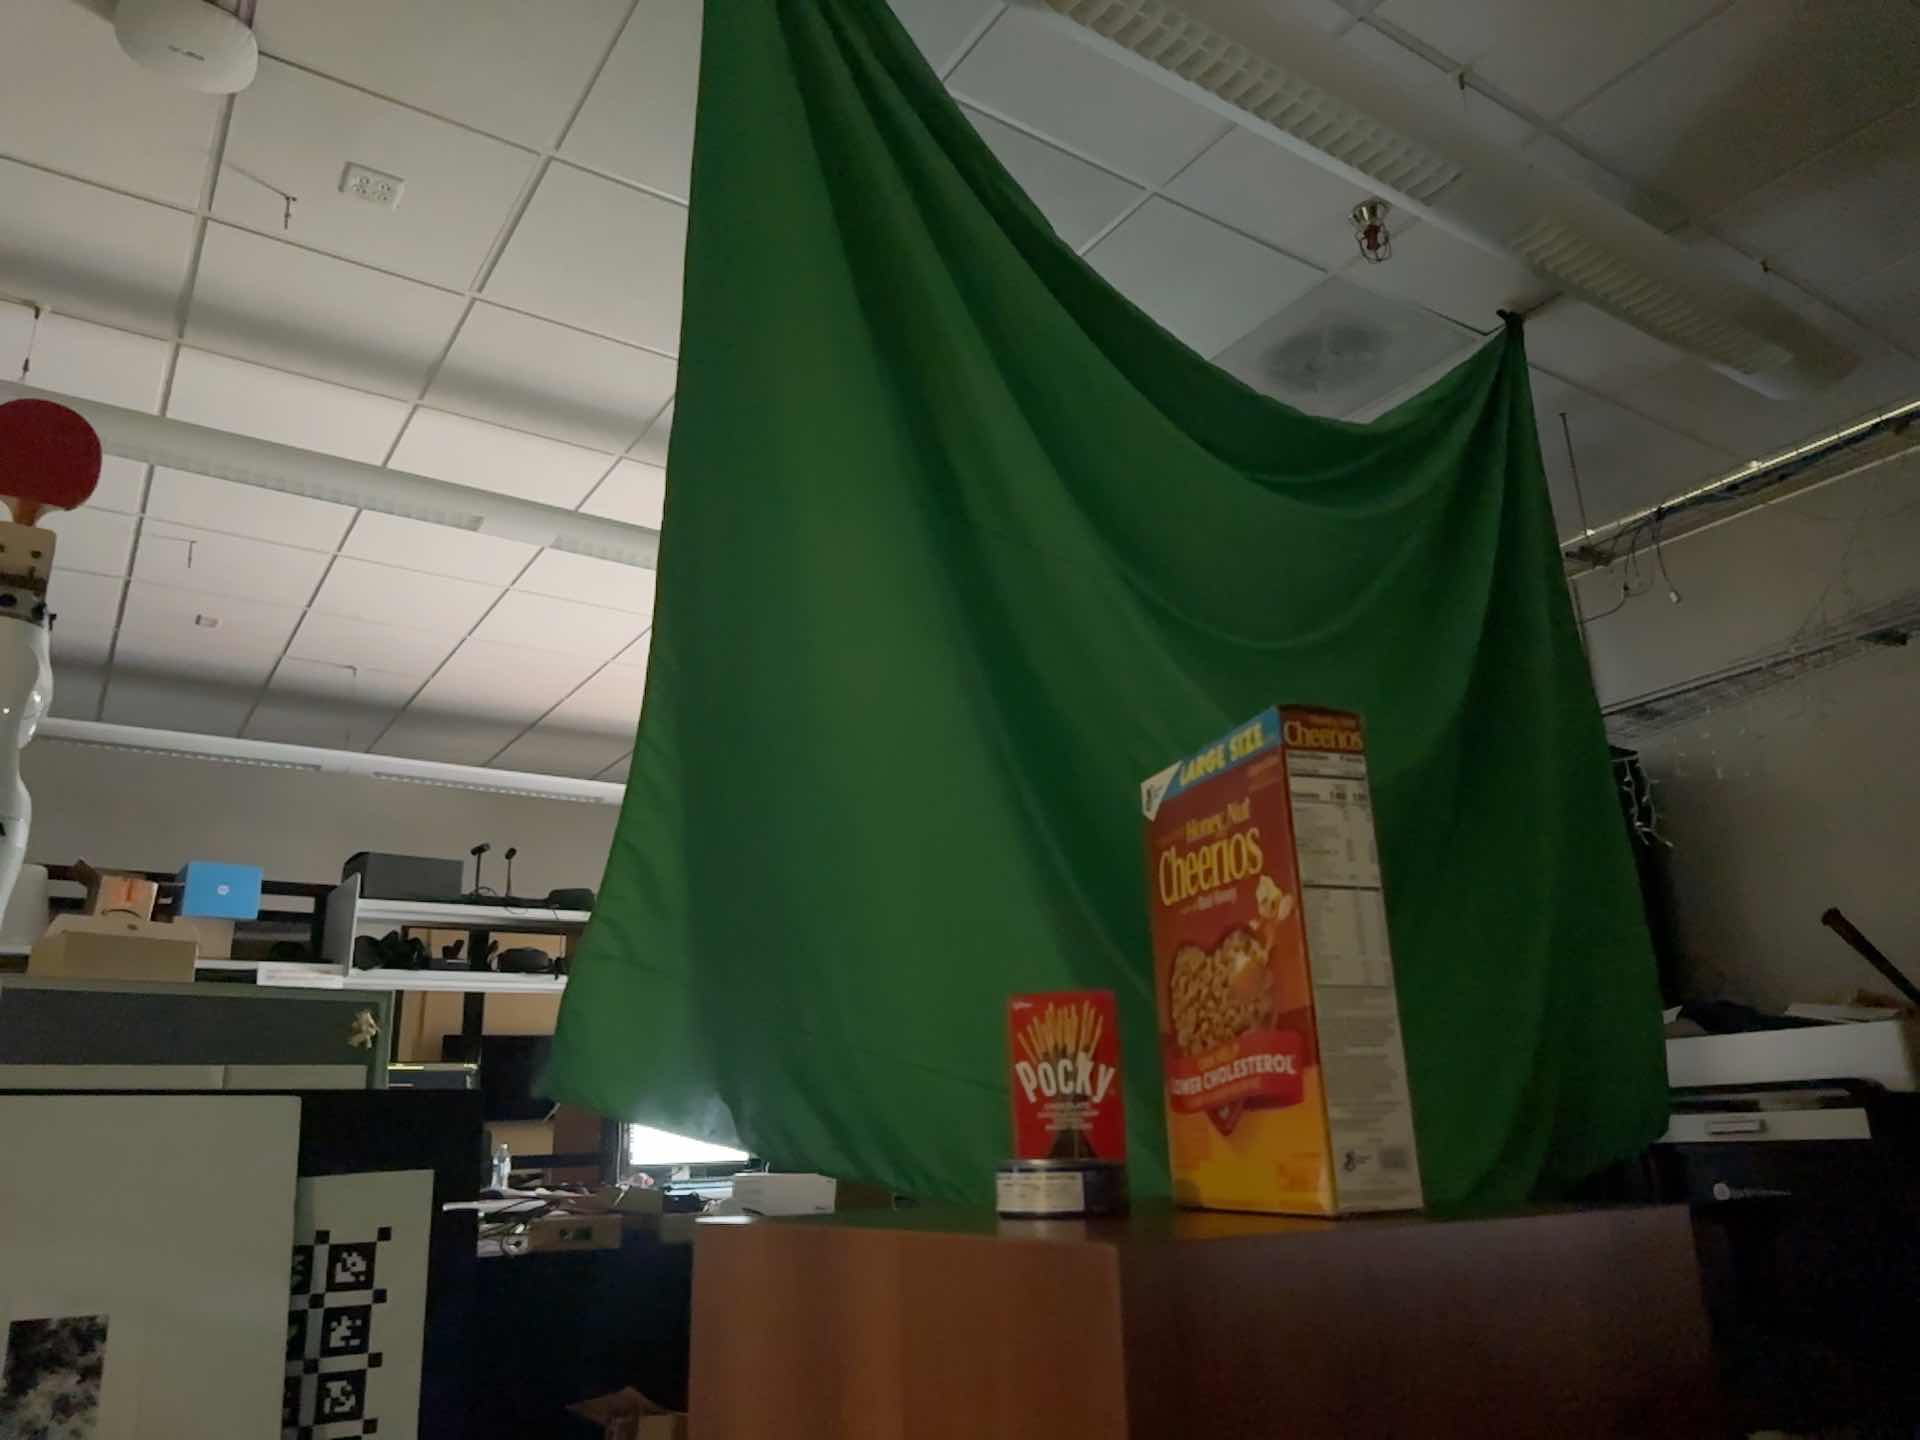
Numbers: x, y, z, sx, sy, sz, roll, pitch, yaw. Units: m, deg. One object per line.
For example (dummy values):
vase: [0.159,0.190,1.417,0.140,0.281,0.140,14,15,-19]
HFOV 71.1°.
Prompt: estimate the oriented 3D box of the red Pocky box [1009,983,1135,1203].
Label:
red Pocky box: [0.080,0.273,0.985,0.083,0.155,0.028,-5,-15,9]

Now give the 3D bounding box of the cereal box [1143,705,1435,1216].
cereal box: [0.205,0.164,0.897,0.065,0.297,0.195,4,-17,-20]

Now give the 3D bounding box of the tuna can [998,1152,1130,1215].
tuna can: [0.067,0.298,0.868,0.083,0.034,0.083,-2,-16,-1]
